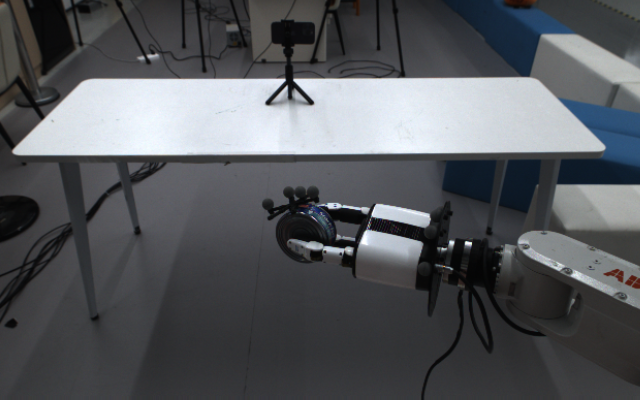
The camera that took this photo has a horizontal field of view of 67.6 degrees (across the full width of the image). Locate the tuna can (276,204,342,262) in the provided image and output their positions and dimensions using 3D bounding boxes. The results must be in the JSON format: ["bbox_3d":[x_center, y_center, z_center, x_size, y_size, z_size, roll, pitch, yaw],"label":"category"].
[{"bbox_3d":[-0.019,0.048,0.710,0.085,0.085,0.034,15,30,17],"label":"tuna can"}]
